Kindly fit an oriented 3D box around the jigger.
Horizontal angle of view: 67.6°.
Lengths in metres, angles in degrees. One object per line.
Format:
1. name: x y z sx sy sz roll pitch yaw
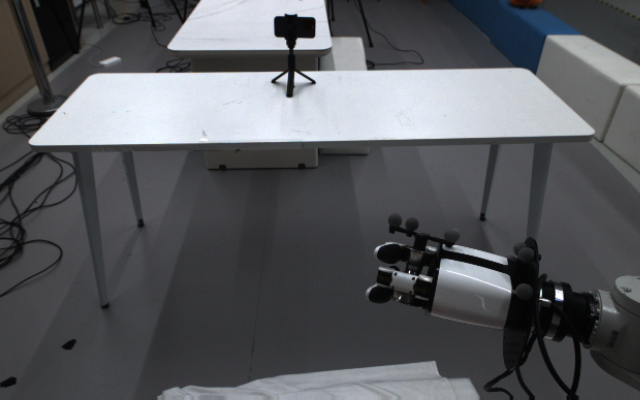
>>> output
1. jigger: 0.119 0.095 0.611 0.043 0.071 0.043 14 1 0
